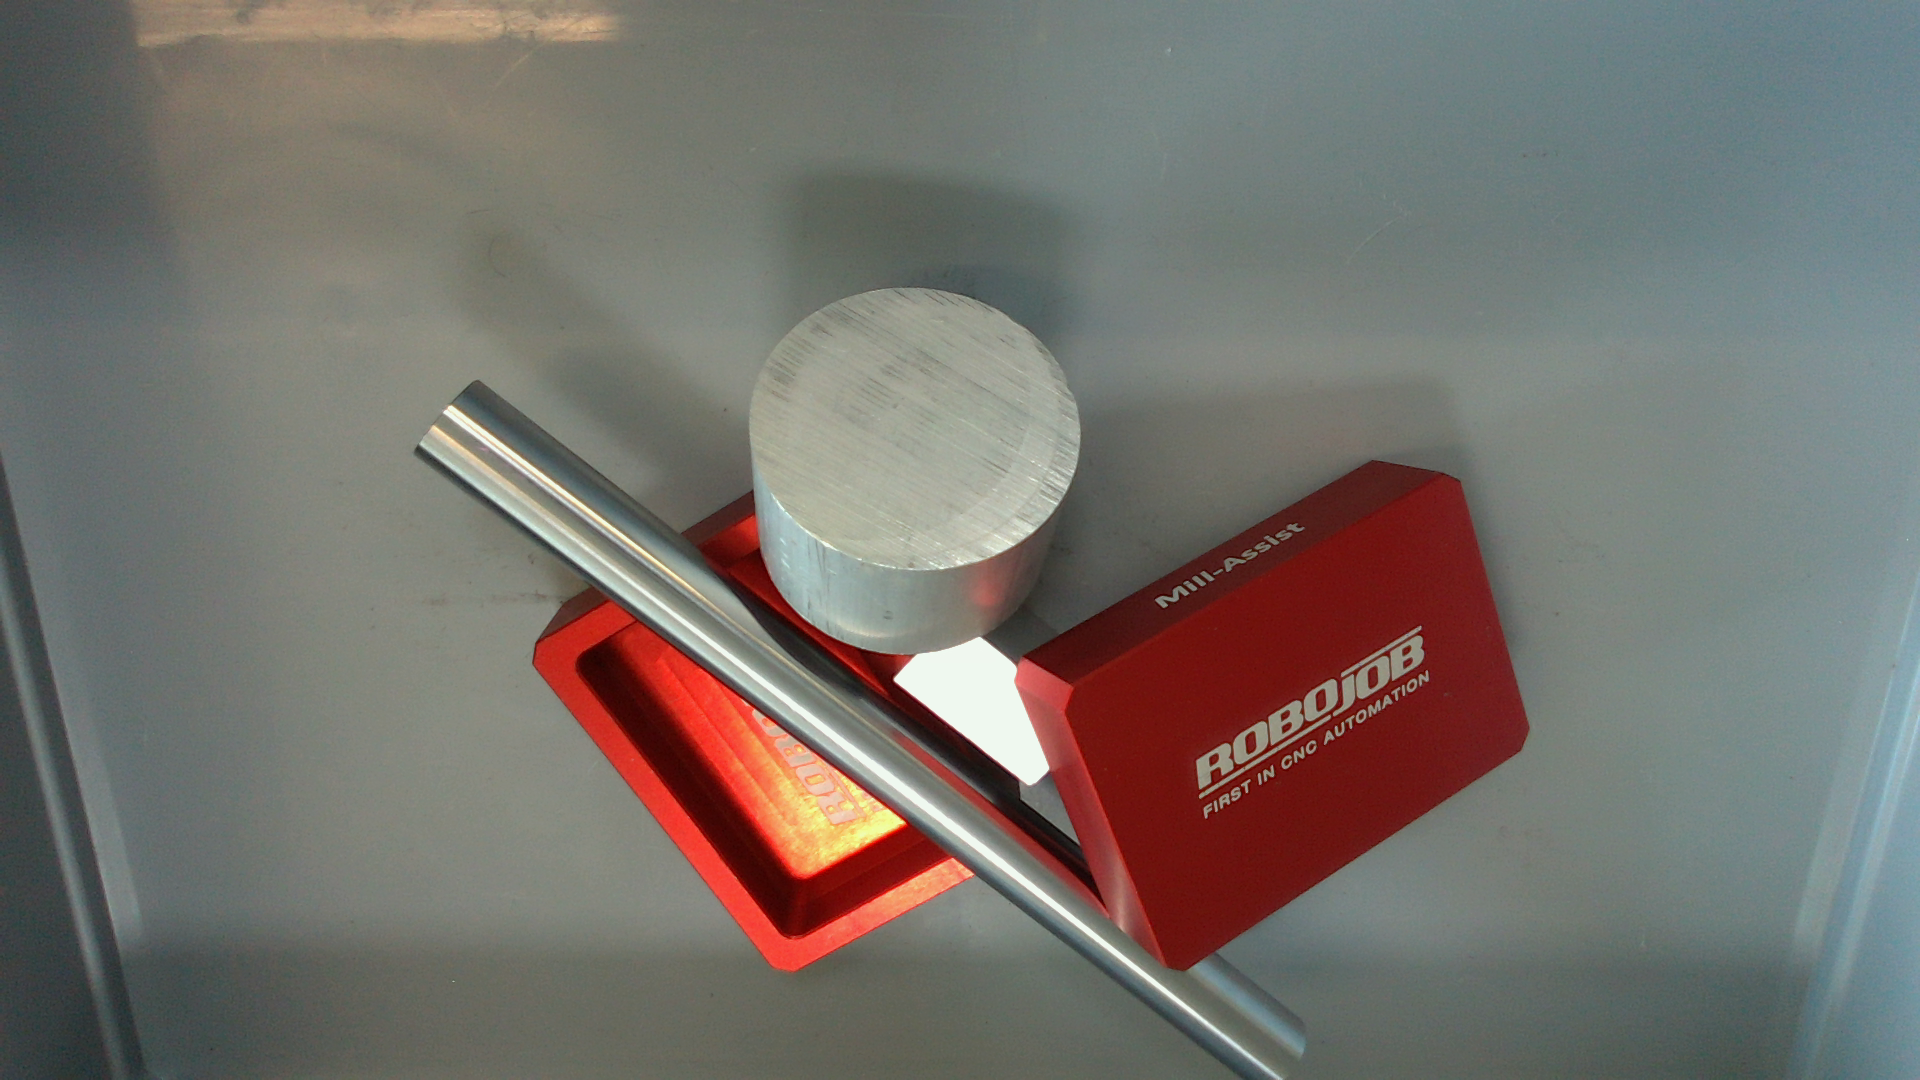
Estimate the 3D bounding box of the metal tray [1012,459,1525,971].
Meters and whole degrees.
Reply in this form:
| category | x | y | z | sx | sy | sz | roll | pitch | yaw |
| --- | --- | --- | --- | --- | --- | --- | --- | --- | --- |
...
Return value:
| category | x | y | z | sx | sy | sz | roll | pitch | yaw |
| --- | --- | --- | --- | --- | --- | --- | --- | --- | --- |
| metal tray | 0.089 | 0.046 | 0.380 | 0.130 | 0.030 | 0.090 | -28 | 110 | -16 |

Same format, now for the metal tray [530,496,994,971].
| category | x | y | z | sx | sy | sz | roll | pitch | yaw |
| --- | --- | --- | --- | --- | --- | --- | --- | --- | --- |
| metal tray | -0.051 | 0.056 | 0.410 | 0.090 | 0.030 | 0.130 | -30 | 108 | 10 |

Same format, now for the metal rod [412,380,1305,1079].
| category | x | y | z | sx | sy | sz | roll | pitch | yaw |
| --- | --- | --- | --- | --- | --- | --- | --- | --- | --- |
| metal rod | -0.017 | 0.062 | 0.383 | 0.300 | 0.025 | 0.025 | 39 | 105 | -14 |

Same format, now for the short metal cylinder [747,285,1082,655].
| category | x | y | z | sx | sy | sz | roll | pitch | yaw |
| --- | --- | --- | --- | --- | --- | --- | --- | --- | --- |
| short metal cylinder | -0.013 | -0.017 | 0.350 | 0.080 | 0.080 | 0.050 | 8 | 152 | -3 |

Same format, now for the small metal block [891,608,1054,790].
| category | x | y | z | sx | sy | sz | roll | pitch | yaw |
| --- | --- | --- | --- | --- | --- | --- | --- | --- | --- |
| small metal block | 0.009 | 0.036 | 0.392 | 0.050 | 0.050 | 0.025 | 39 | 106 | -13 |
